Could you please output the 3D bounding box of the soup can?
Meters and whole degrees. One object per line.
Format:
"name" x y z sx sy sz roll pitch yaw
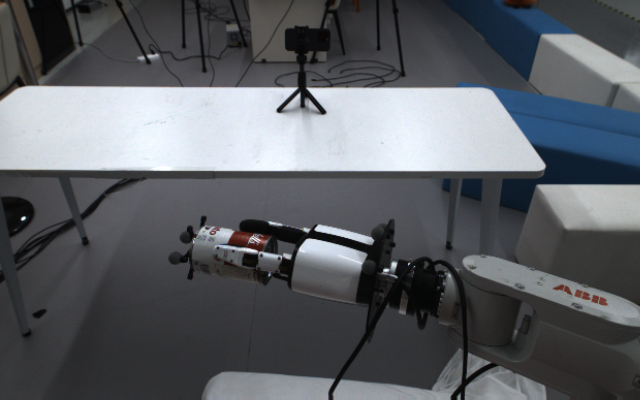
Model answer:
"soup can" -0.114 0.074 0.656 0.101 0.067 0.067 8 35 11
